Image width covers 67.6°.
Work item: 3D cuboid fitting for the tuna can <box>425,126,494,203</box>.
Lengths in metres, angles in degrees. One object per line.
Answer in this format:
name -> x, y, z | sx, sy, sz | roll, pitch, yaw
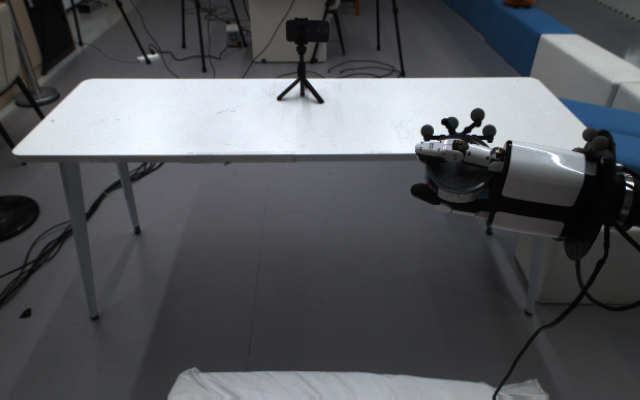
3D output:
tuna can -> 0.178, -0.041, 0.621 | 0.085, 0.034, 0.085 | -4, 61, 7
